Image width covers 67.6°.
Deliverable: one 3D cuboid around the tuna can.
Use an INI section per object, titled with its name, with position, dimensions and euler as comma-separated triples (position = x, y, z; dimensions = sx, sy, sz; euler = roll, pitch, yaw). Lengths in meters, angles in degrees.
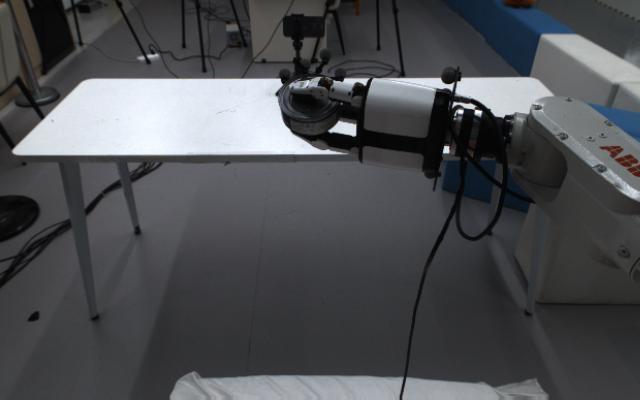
[tuna can]
position = -0.012, -0.128, 0.656
dimensions = 0.085, 0.034, 0.085
euler = -2, 56, 2
